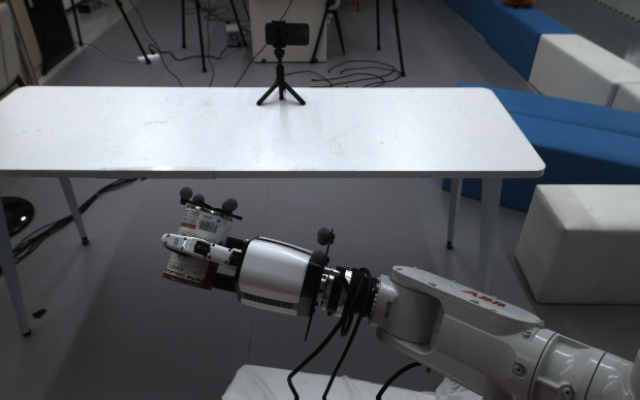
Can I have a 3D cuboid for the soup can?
[{"bbox_3d":[-0.165,0.067,0.662,0.067,0.067,0.101,13,78,15],"label":"soup can"}]
